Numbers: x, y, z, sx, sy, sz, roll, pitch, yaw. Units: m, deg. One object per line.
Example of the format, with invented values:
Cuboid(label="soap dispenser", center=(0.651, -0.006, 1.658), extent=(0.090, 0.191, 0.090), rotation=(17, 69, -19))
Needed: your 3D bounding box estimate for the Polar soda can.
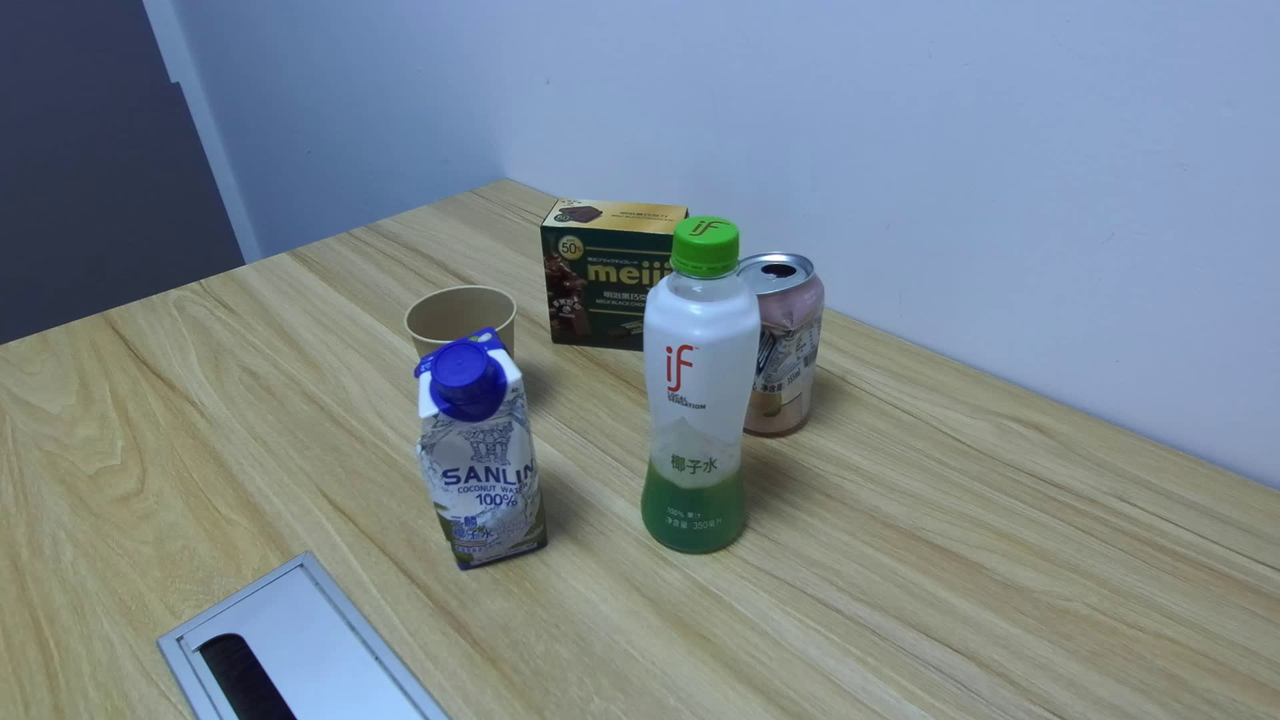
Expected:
Cuboid(label="Polar soda can", center=(0.084, -0.009, 0.481), extent=(0.070, 0.122, 0.067), rotation=(17, 42, 26))

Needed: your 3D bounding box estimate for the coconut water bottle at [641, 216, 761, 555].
Cuboid(label="coconut water bottle", center=(0.032, 0.018, 0.375), extent=(0.063, 0.189, 0.063), rotation=(-1, 35, 1))

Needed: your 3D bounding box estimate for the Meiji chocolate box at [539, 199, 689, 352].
Cuboid(label="Meiji chocolate box", center=(-0.017, -0.063, 0.559), extent=(0.110, 0.109, 0.056), rotation=(6, 32, 11))

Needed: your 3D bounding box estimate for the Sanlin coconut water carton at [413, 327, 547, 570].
Cuboid(label="Sanlin coconut water carton", center=(-0.090, 0.045, 0.384), extent=(0.061, 0.144, 0.069), rotation=(-13, 37, -14))
